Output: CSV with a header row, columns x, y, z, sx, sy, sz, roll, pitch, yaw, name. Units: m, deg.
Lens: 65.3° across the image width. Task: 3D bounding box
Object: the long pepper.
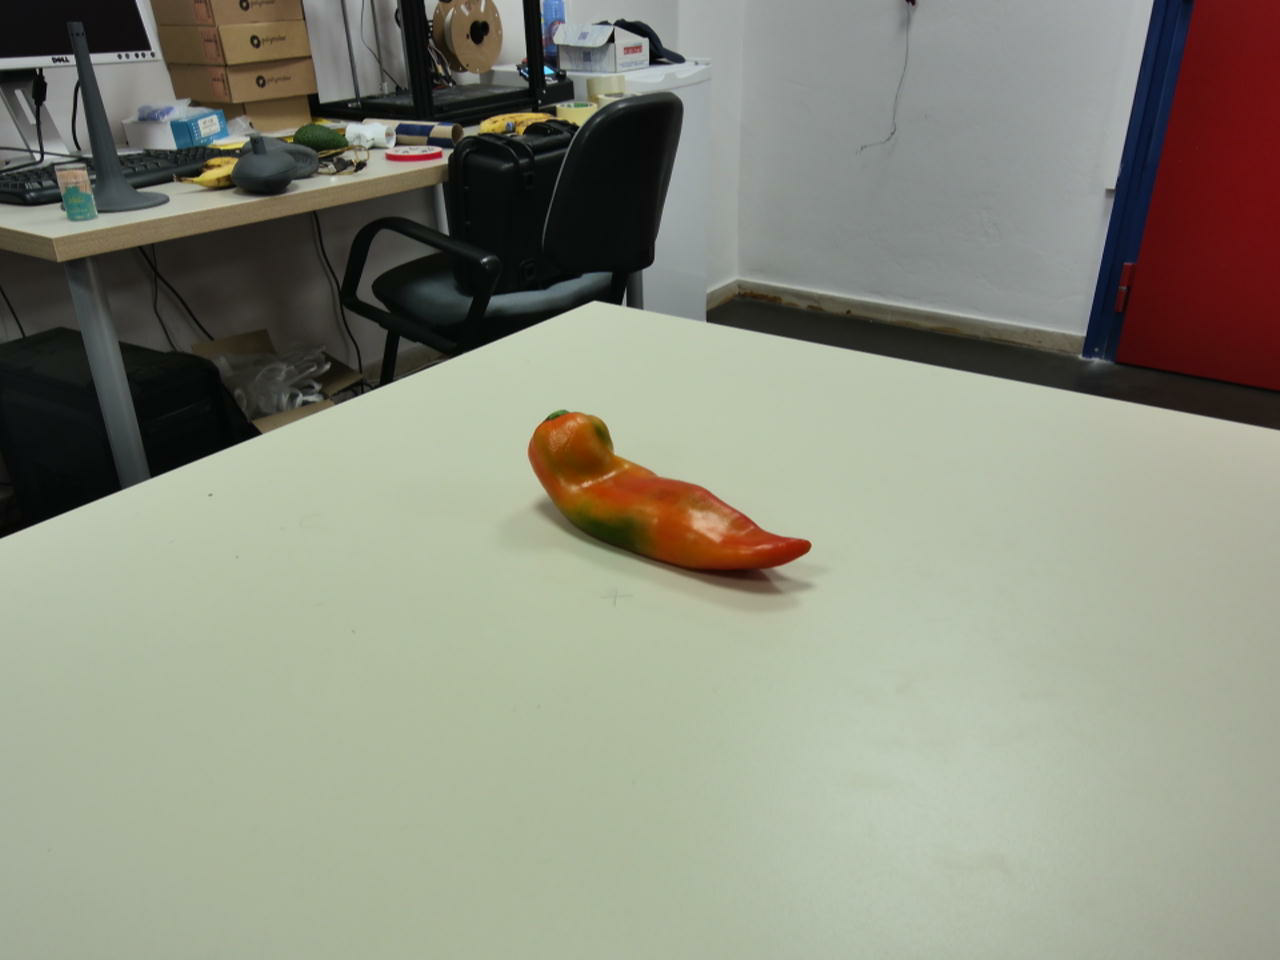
x,y,z,sx,sy,sz,roll,pitch,yaw,name
0.012,0.007,0.598,0.199,0.065,0.066,20,32,37,long pepper
